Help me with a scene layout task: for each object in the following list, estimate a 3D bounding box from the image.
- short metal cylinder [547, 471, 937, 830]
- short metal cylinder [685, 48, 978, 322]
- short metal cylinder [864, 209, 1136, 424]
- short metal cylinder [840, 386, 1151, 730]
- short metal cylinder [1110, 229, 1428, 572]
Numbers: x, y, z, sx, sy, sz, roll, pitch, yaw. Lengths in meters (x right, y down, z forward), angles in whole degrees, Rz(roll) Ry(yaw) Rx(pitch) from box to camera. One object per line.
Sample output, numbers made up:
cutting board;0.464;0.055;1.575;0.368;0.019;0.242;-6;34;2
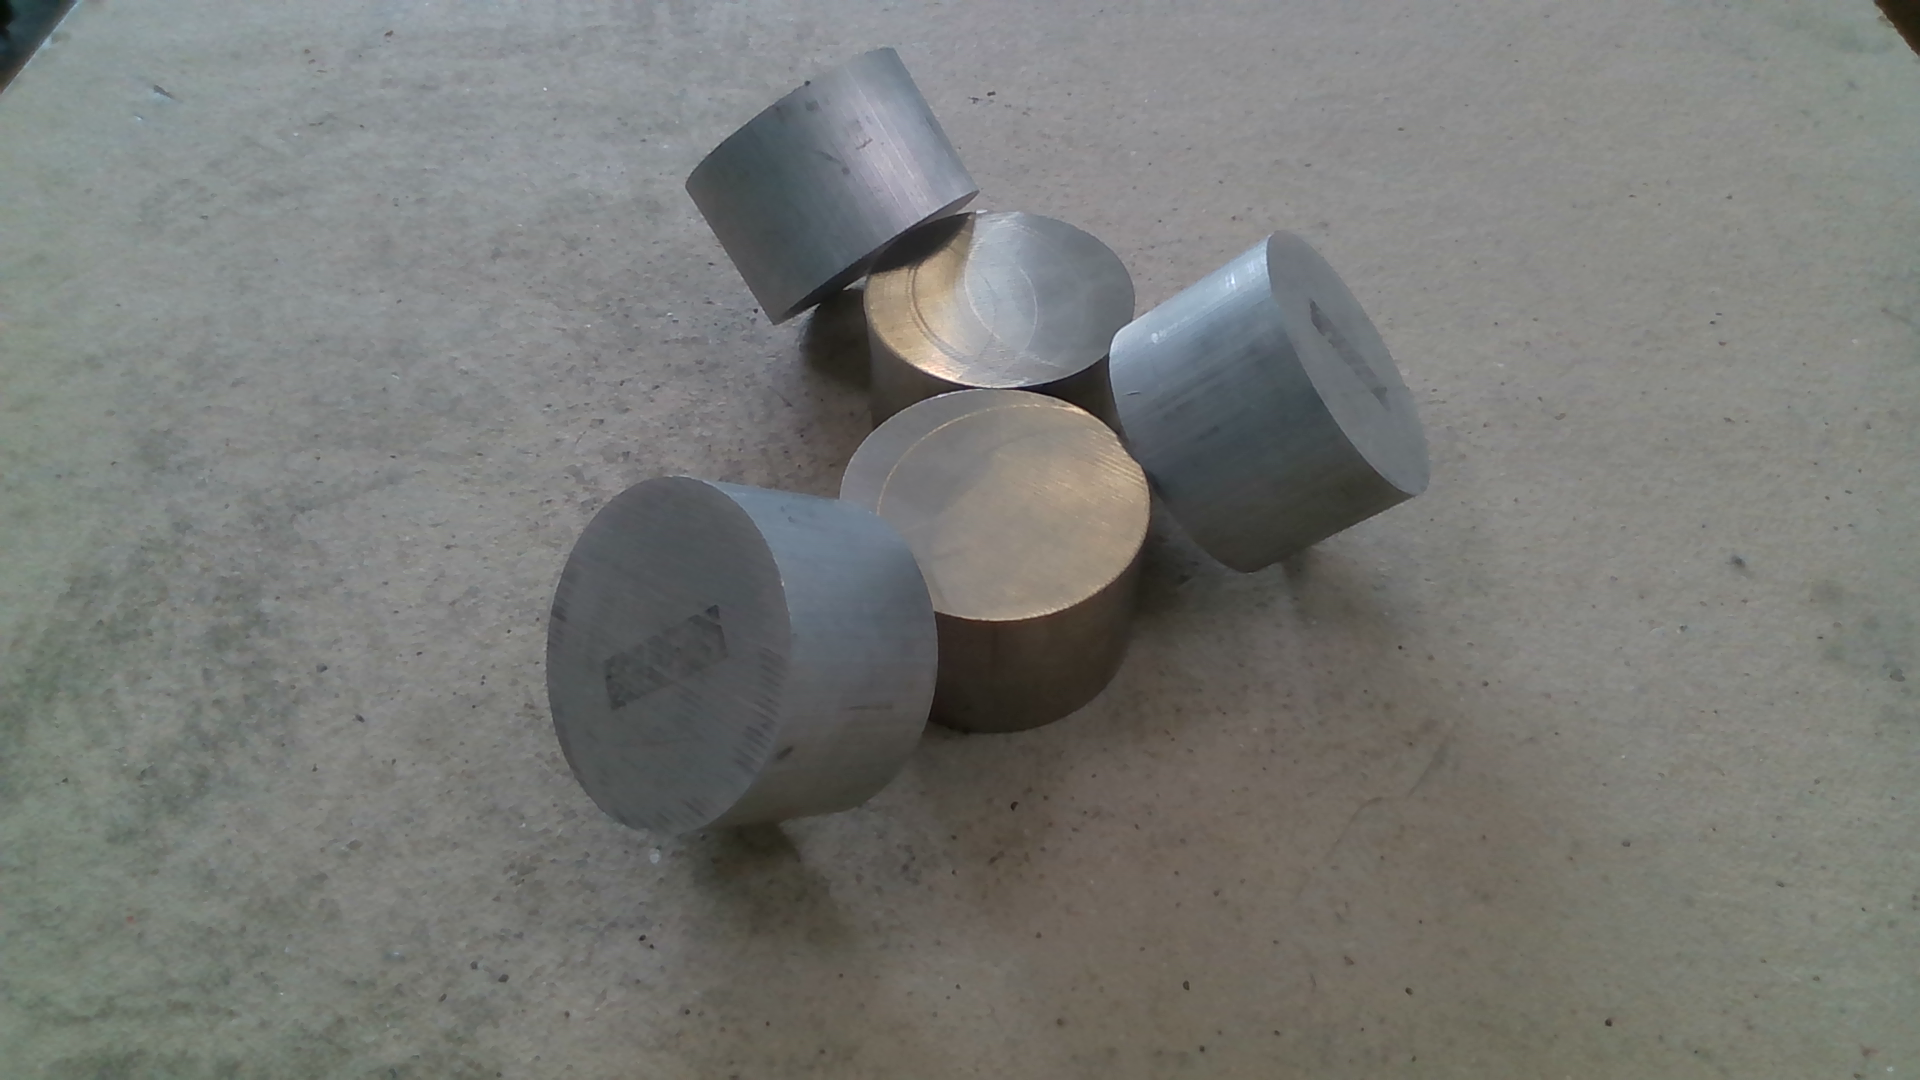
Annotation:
short metal cylinder;-0.052;0.026;0.328;0.080;0.080;0.050;45;22;31
short metal cylinder;-0.041;-0.113;0.444;0.080;0.080;0.050;-36;99;-26
short metal cylinder;0.012;-0.057;0.425;0.080;0.050;0.080;0;50;0
short metal cylinder;0.009;0.004;0.374;0.080;0.050;0.080;0;50;0
short metal cylinder;0.086;-0.038;0.382;0.050;0.080;0.080;-30;41;32
